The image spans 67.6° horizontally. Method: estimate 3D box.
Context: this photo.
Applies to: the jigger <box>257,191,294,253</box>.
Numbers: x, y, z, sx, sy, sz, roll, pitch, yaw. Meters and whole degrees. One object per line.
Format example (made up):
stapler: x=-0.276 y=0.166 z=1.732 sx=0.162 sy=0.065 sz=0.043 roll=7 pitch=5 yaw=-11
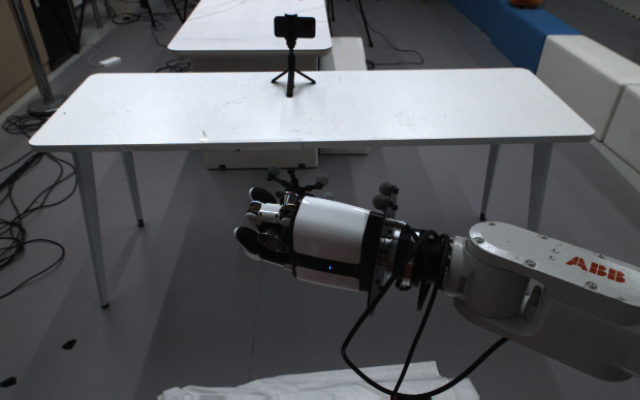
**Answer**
jigger: x=-0.044 y=0.028 z=0.615 sx=0.043 sy=0.043 sz=0.071 roll=13 pitch=58 yaw=16
